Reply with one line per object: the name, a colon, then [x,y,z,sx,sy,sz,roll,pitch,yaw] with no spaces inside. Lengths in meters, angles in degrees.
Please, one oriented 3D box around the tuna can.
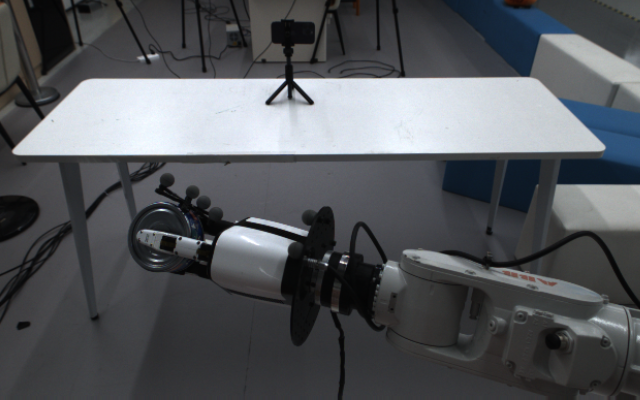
tuna can: [-0.184,0.052,0.585,0.085,0.085,0.034,13,-4,15]
